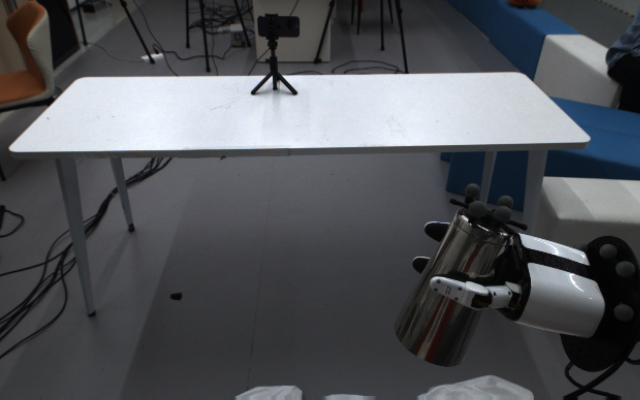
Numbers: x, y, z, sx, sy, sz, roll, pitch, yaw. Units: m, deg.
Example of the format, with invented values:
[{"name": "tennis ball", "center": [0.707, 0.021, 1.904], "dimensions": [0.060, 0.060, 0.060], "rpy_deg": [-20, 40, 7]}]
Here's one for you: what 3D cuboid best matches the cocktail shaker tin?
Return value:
[{"name": "cocktail shaker tin", "center": [0.163, 0.098, 0.574], "dimensions": [0.093, 0.170, 0.093], "rpy_deg": [16, 21, -6]}]
